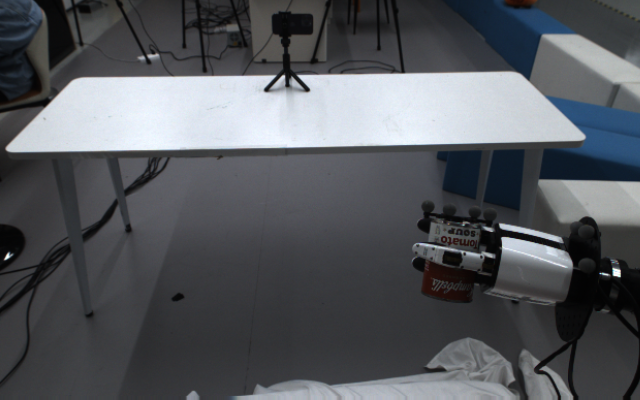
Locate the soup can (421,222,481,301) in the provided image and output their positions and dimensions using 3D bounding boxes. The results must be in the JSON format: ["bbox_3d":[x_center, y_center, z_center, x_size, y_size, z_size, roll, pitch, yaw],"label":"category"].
[{"bbox_3d":[0.177,0.078,0.644,0.067,0.101,0.067,7,3,0],"label":"soup can"}]
